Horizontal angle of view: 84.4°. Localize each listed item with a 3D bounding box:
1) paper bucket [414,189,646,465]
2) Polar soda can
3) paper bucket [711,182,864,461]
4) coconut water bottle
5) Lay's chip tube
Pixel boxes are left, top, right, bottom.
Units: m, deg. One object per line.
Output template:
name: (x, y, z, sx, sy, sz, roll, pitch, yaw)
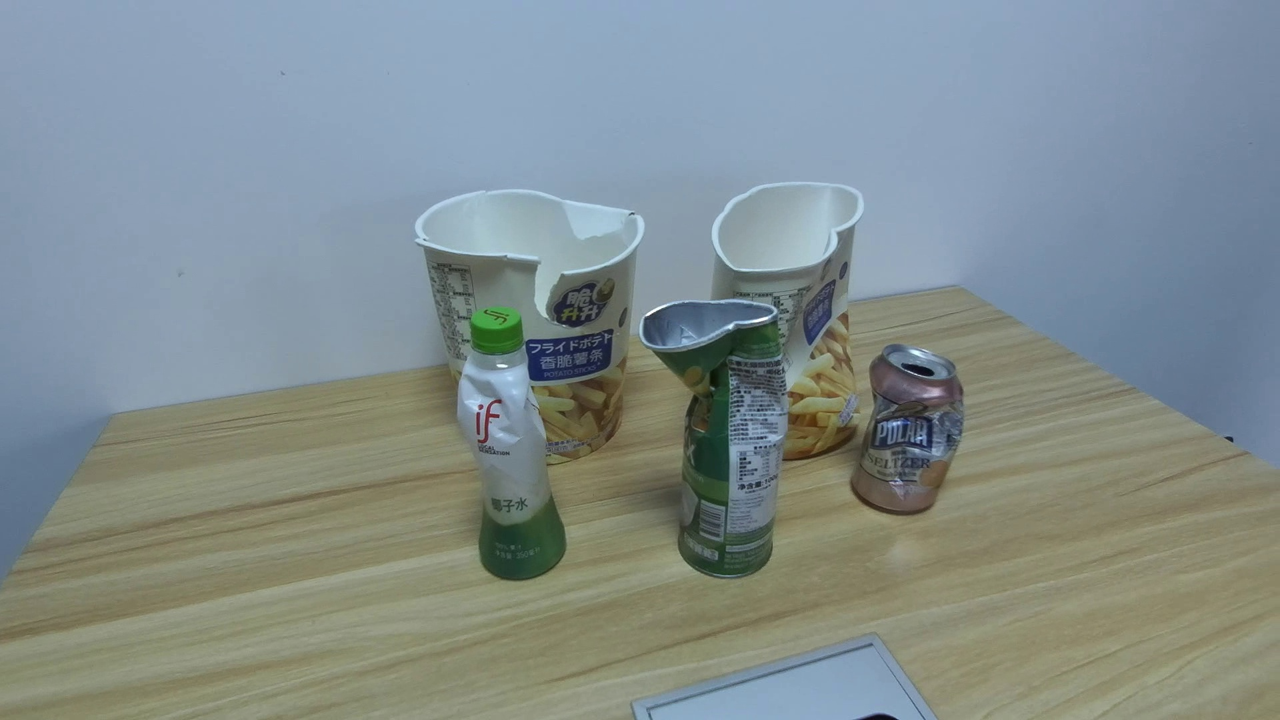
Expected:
paper bucket: (-0.089, -0.029, 0.613, 0.202, 0.197, 0.146, 13, 33, 24)
Polar soda can: (0.206, 0.053, 0.544, 0.071, 0.122, 0.066, 5, 23, 7)
paper bucket: (0.126, -0.035, 0.611, 0.147, 0.199, 0.217, -2, 29, -2)
coconut water bottle: (-0.087, 0.057, 0.475, 0.067, 0.187, 0.067, -1, 27, 1)
Lay's chip tube: (0.051, 0.054, 0.465, 0.071, 0.200, 0.078, -23, 33, -19)
